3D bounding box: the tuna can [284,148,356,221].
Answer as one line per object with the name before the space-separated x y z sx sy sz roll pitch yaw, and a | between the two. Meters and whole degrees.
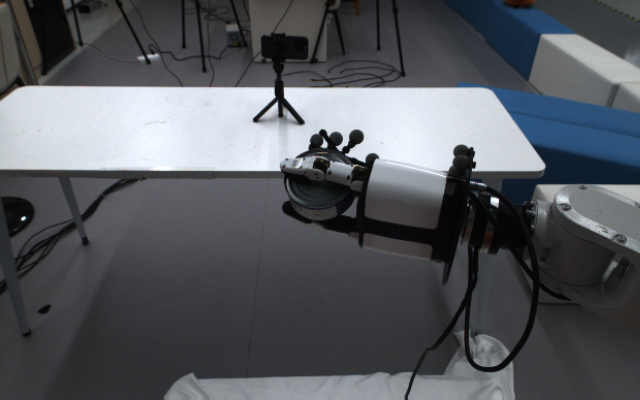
tuna can | 0.003 -0.020 0.585 0.085 0.034 0.085 -4 56 6
